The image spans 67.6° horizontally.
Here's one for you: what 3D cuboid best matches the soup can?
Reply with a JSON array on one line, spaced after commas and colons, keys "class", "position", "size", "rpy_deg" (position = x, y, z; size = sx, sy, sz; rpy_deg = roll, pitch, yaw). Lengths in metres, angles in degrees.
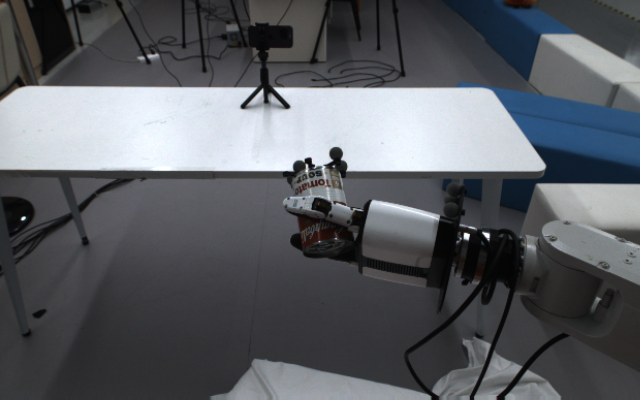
[{"class": "soup can", "position": [0.005, 0.016, 0.620], "size": [0.067, 0.067, 0.101], "rpy_deg": [-6, 67, -12]}]
